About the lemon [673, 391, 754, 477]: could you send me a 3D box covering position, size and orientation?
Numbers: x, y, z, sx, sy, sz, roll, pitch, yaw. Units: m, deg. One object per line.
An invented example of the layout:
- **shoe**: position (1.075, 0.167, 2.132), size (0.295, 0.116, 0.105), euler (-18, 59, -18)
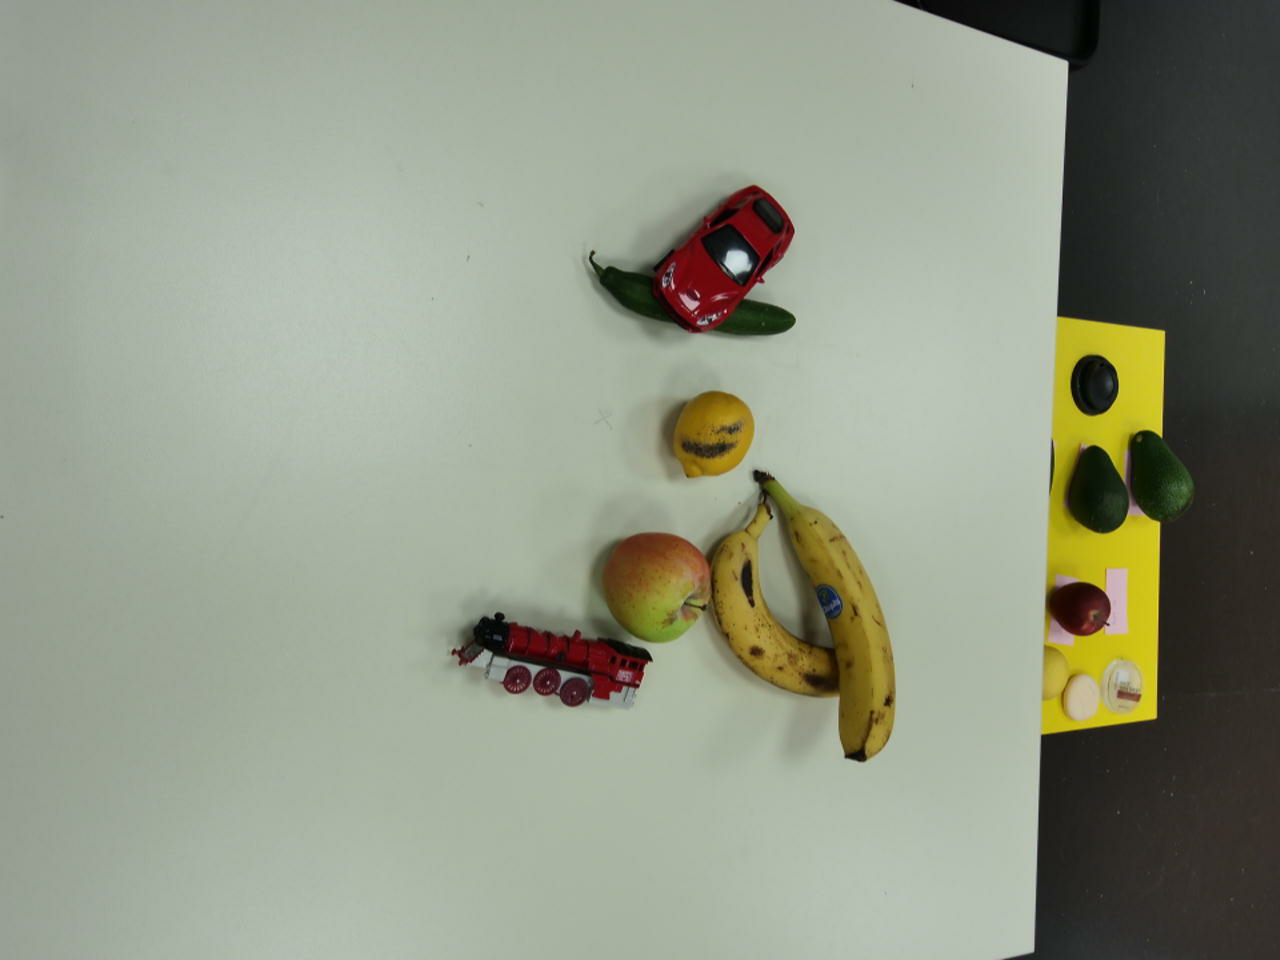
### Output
- **lemon**: position (0.053, -0.033, 0.719), size (0.058, 0.056, 0.061), euler (-5, 93, -28)
